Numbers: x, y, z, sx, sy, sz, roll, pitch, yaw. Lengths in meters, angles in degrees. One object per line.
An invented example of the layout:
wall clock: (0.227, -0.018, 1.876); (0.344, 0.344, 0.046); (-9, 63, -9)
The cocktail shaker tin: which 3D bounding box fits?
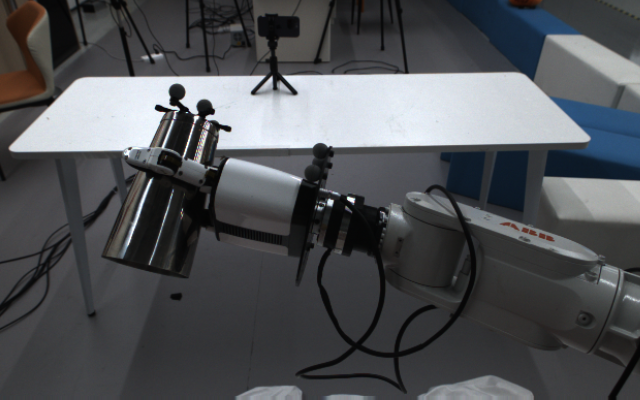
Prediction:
cocktail shaker tin: (-0.167, -0.006, 0.534); (0.093, 0.093, 0.170); (10, 73, 11)
